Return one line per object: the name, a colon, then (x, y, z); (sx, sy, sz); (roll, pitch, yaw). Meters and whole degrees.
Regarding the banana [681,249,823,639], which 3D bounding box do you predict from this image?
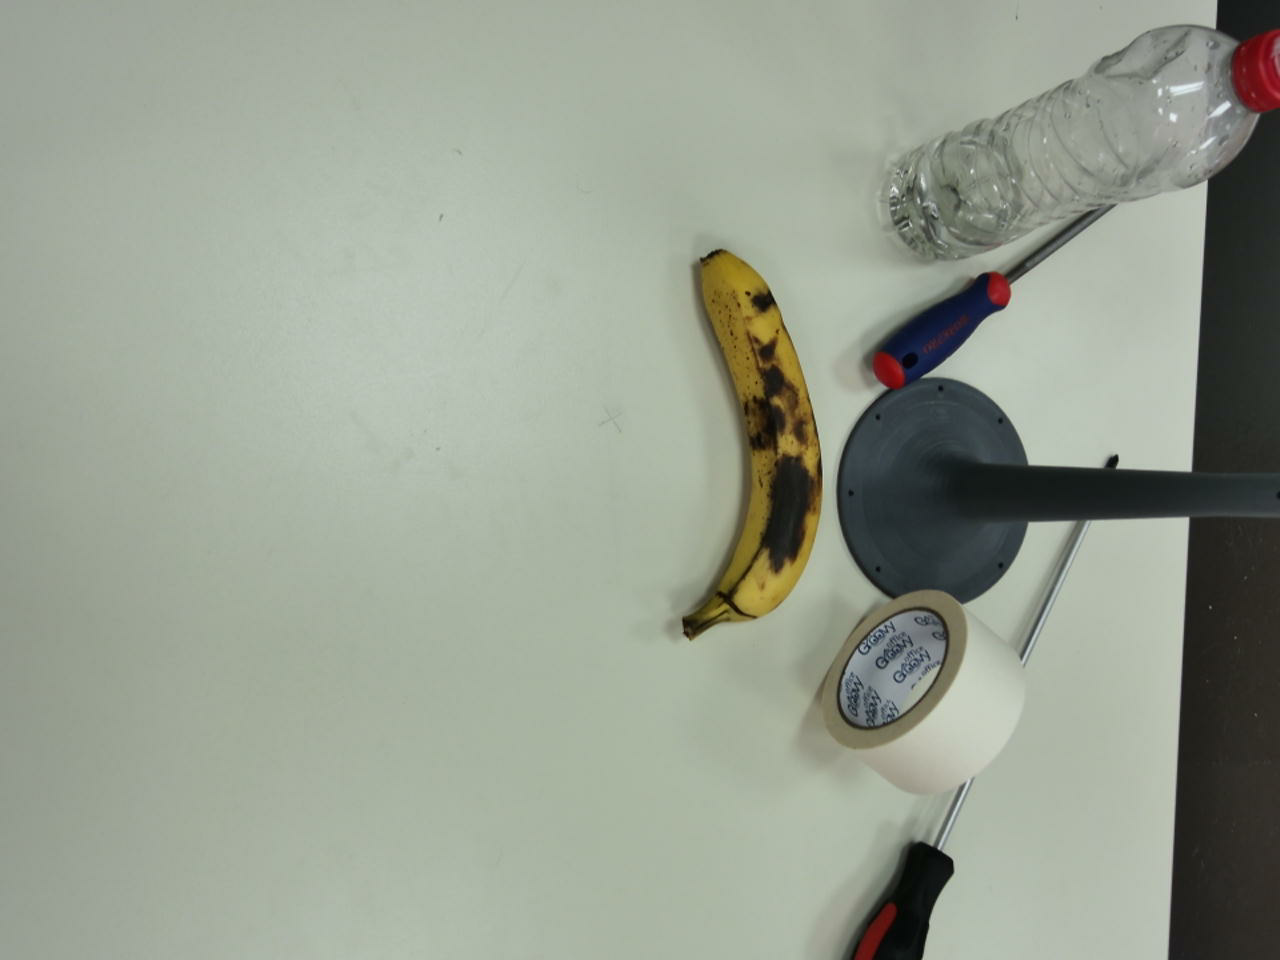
banana: (0.069, -0.019, 0.579); (0.084, 0.038, 0.222); (5, 88, -21)
